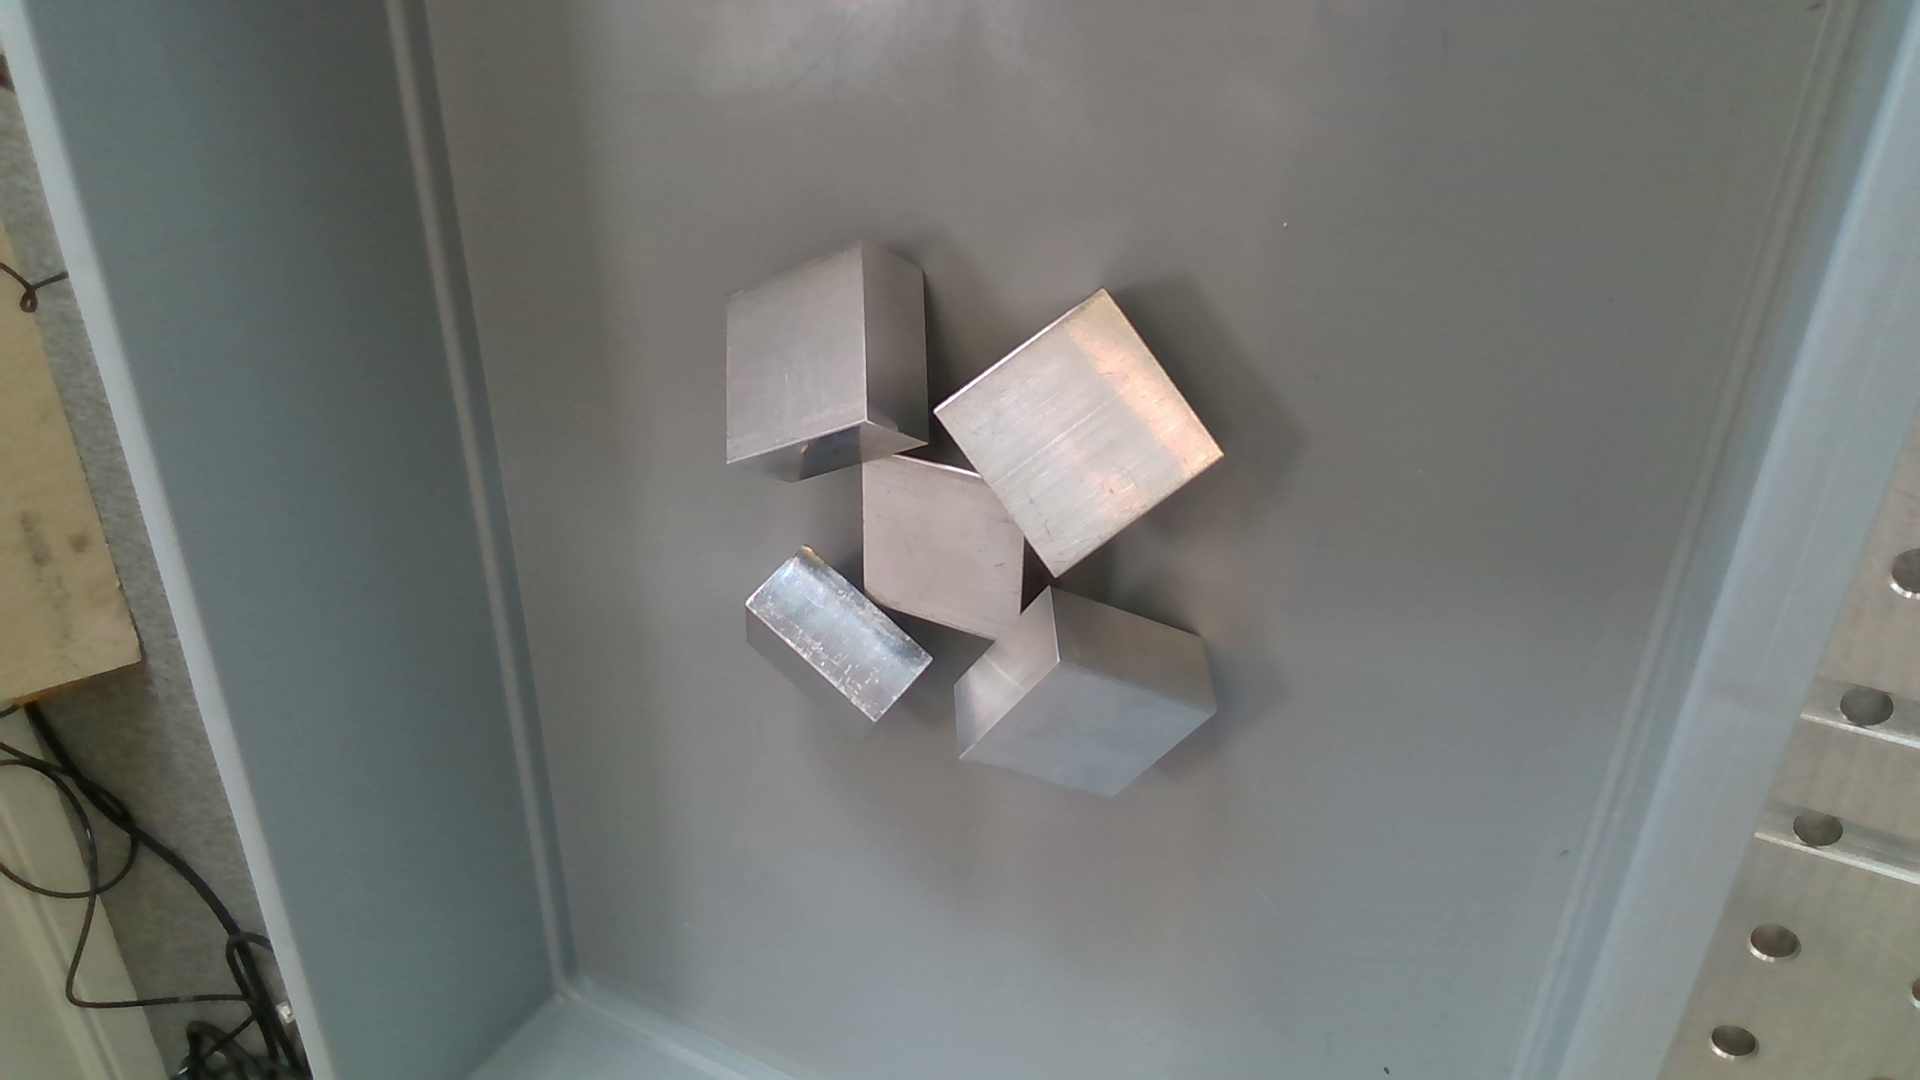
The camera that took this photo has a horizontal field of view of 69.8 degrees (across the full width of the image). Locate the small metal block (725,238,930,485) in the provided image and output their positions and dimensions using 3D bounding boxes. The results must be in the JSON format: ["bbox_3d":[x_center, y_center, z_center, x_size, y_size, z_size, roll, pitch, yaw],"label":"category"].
[{"bbox_3d":[-0.036,-0.046,0.369,0.050,0.025,0.050,-13,70,36],"label":"small metal block"}]

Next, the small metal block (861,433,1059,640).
[{"bbox_3d":[0.000,-0.003,0.384,0.050,0.025,0.050,16,122,24],"label":"small metal block"}]

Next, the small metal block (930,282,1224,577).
[{"bbox_3d":[0.028,-0.027,0.339,0.050,0.025,0.050,-36,93,2],"label":"small metal block"}]

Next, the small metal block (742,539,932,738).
[{"bbox_3d":[-0.038,0.032,0.413,0.050,0.025,0.050,42,163,5],"label":"small metal block"}]

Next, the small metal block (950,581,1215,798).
[{"bbox_3d":[0.032,0.042,0.375,0.050,0.025,0.050,19,134,-24],"label":"small metal block"}]
